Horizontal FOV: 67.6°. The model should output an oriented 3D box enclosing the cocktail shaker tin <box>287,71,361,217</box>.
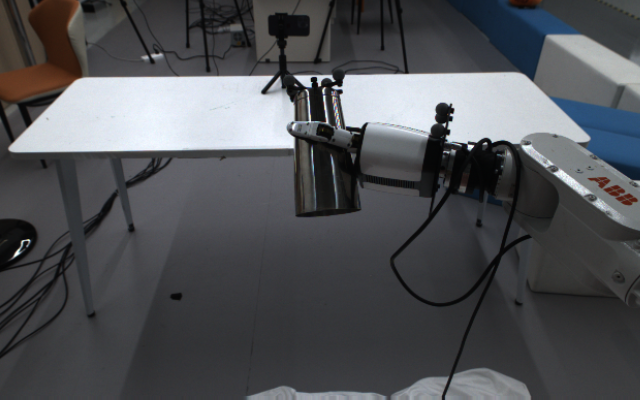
[{"bbox_3d":[0.003,-0.066,0.680,0.093,0.170,0.093,-6,-7,-1],"label":"cocktail shaker tin"}]
